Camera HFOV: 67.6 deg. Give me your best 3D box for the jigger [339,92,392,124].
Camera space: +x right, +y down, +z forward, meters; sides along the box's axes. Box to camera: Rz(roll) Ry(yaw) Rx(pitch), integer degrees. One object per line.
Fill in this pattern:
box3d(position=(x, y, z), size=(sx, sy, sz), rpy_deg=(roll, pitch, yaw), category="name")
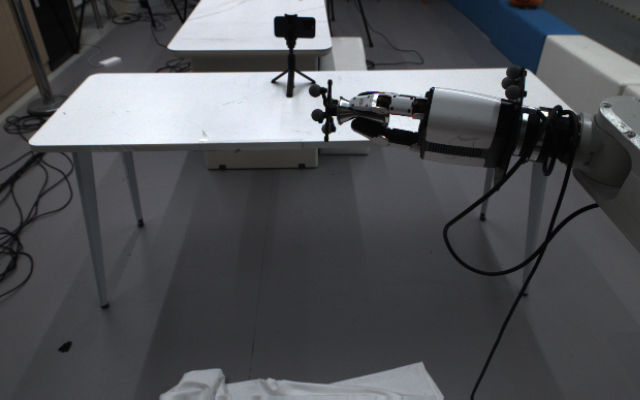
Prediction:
box3d(position=(0.068, -0.129, 0.679), size=(0.071, 0.043, 0.043), rpy_deg=(2, 34, 16), category="jigger")
